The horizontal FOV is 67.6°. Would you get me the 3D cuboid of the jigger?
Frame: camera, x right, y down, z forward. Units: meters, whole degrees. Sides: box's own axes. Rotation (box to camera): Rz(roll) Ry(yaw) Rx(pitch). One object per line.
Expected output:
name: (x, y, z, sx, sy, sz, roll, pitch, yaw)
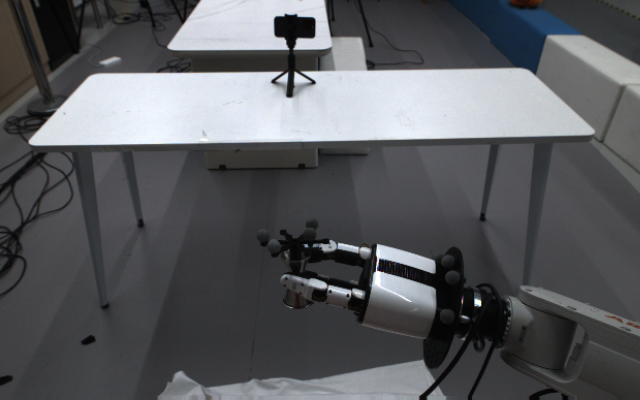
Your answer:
jigger: (-0.029, 0.102, 0.635, 0.043, 0.071, 0.043, -2, 19, 1)
